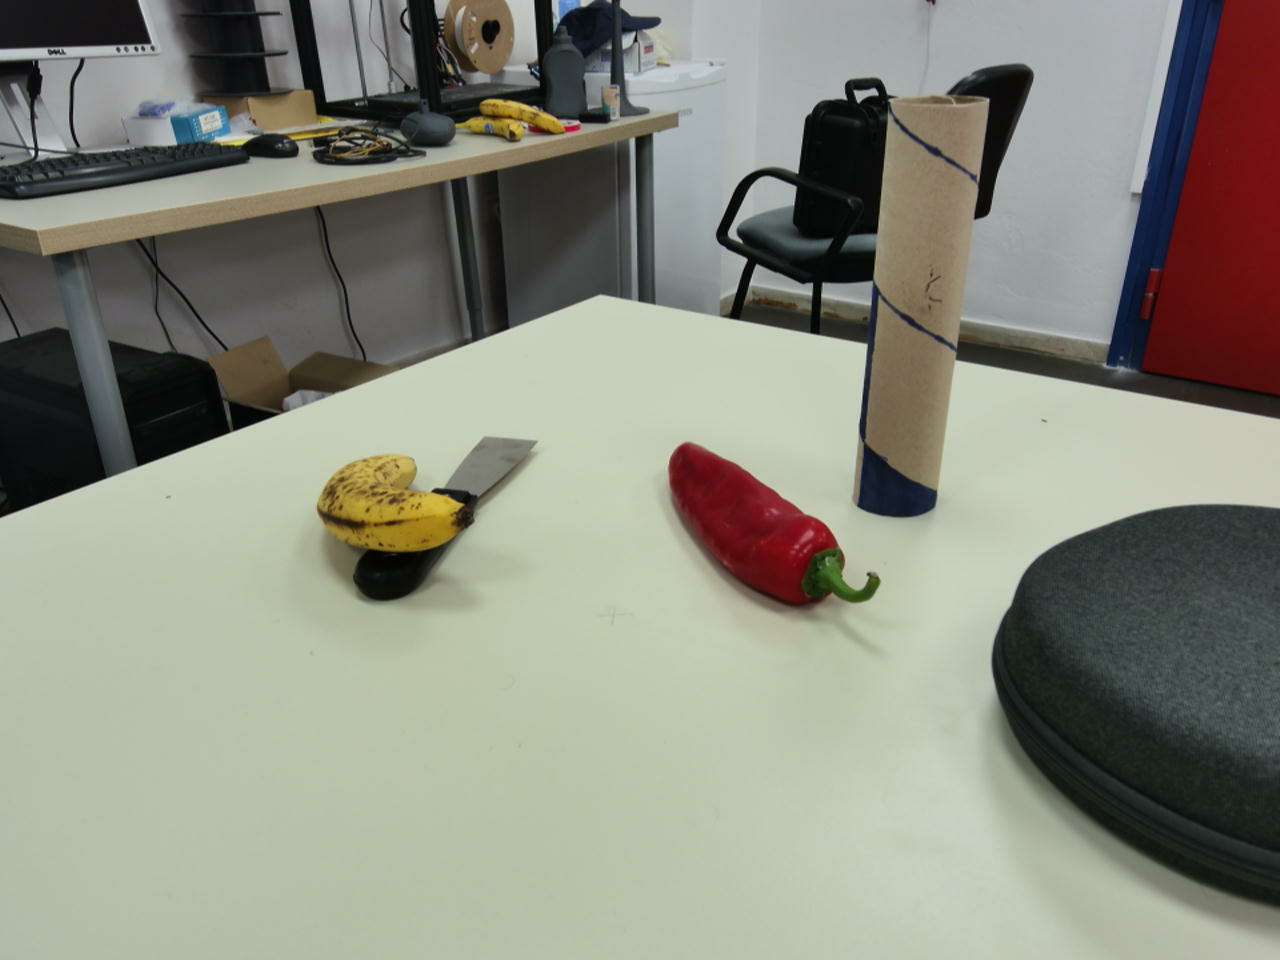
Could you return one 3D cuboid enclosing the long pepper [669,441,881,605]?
[{"bbox_3d":[0.058,0.019,0.537,0.050,0.043,0.211,-9,26,-19],"label":"long pepper"}]
